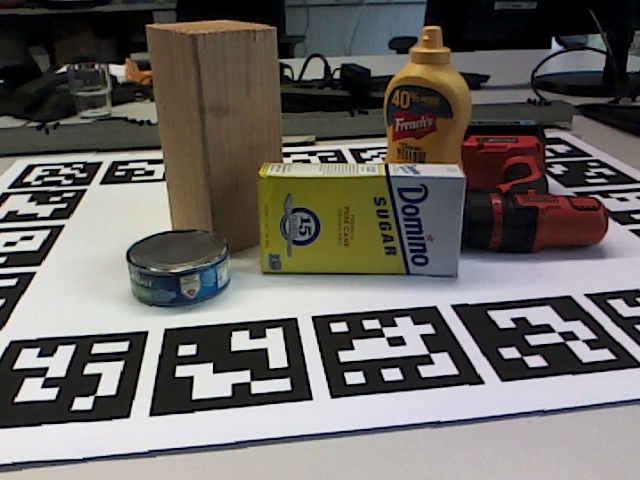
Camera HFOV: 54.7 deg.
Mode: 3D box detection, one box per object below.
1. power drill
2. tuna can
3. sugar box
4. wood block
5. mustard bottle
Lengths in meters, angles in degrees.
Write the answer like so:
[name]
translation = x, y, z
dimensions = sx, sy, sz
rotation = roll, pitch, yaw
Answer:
[power drill]
translation = 0.170, -0.051, 0.653
dimensions = 0.185, 0.057, 0.187
rotation = 2, 35, 5
[tuna can]
translation = -0.122, 0.023, 0.540
dimensions = 0.086, 0.033, 0.086
rotation = 0, 28, 0
[sugar box]
translation = 0.041, -0.015, 0.554
dimensions = 0.176, 0.092, 0.045
rotation = 3, 24, 3
[wood block]
translation = -0.097, -0.095, 0.606
dimensions = 0.090, 0.206, 0.090
rotation = -20, 34, -32
[mustard bottle]
translation = 0.115, -0.123, 0.666
dimensions = 0.097, 0.191, 0.058
rotation = 23, 37, 36
